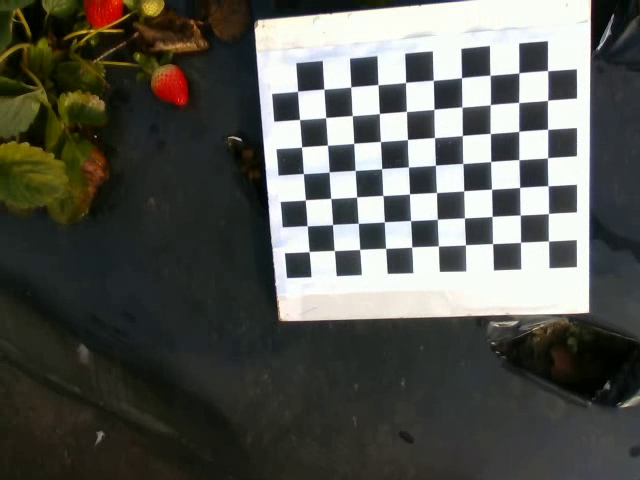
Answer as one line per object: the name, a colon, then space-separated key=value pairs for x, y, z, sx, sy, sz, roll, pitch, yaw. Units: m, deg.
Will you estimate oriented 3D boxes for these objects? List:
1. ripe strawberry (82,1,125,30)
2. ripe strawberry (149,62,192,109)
ripe strawberry: x=-0.192 y=-0.208 z=0.597 sx=0.031 sy=0.040 sz=0.048 roll=-22 pitch=8 yaw=-37
ripe strawberry: x=-0.135 y=-0.138 z=0.603 sx=0.035 sy=0.043 sz=0.029 roll=-40 pitch=-2 yaw=11
